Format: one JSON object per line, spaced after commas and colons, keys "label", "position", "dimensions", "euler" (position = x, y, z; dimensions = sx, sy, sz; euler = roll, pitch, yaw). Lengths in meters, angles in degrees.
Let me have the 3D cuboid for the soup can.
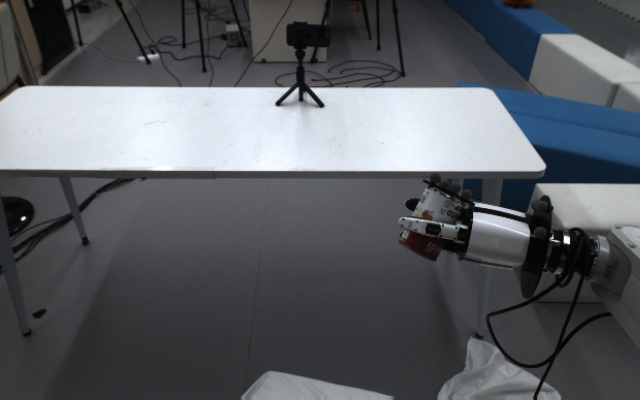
{"label": "soup can", "position": [0.178, 0.036, 0.766], "dimensions": [0.067, 0.101, 0.067], "euler": [26, 5, -3]}
